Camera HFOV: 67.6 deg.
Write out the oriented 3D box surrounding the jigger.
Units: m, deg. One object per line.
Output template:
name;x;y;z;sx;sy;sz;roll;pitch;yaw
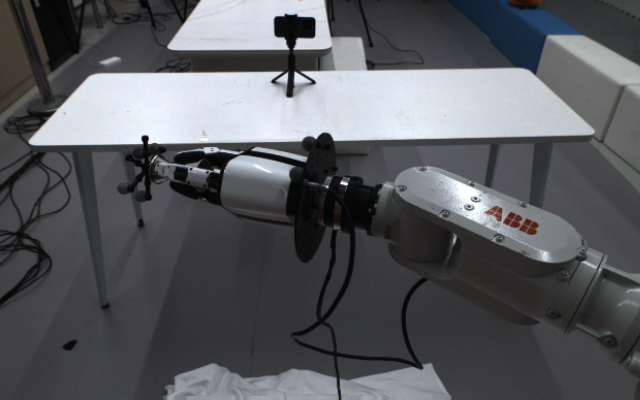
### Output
jigger;-0.176;-0.039;0.632;0.071;0.043;0.043;7;35;14
